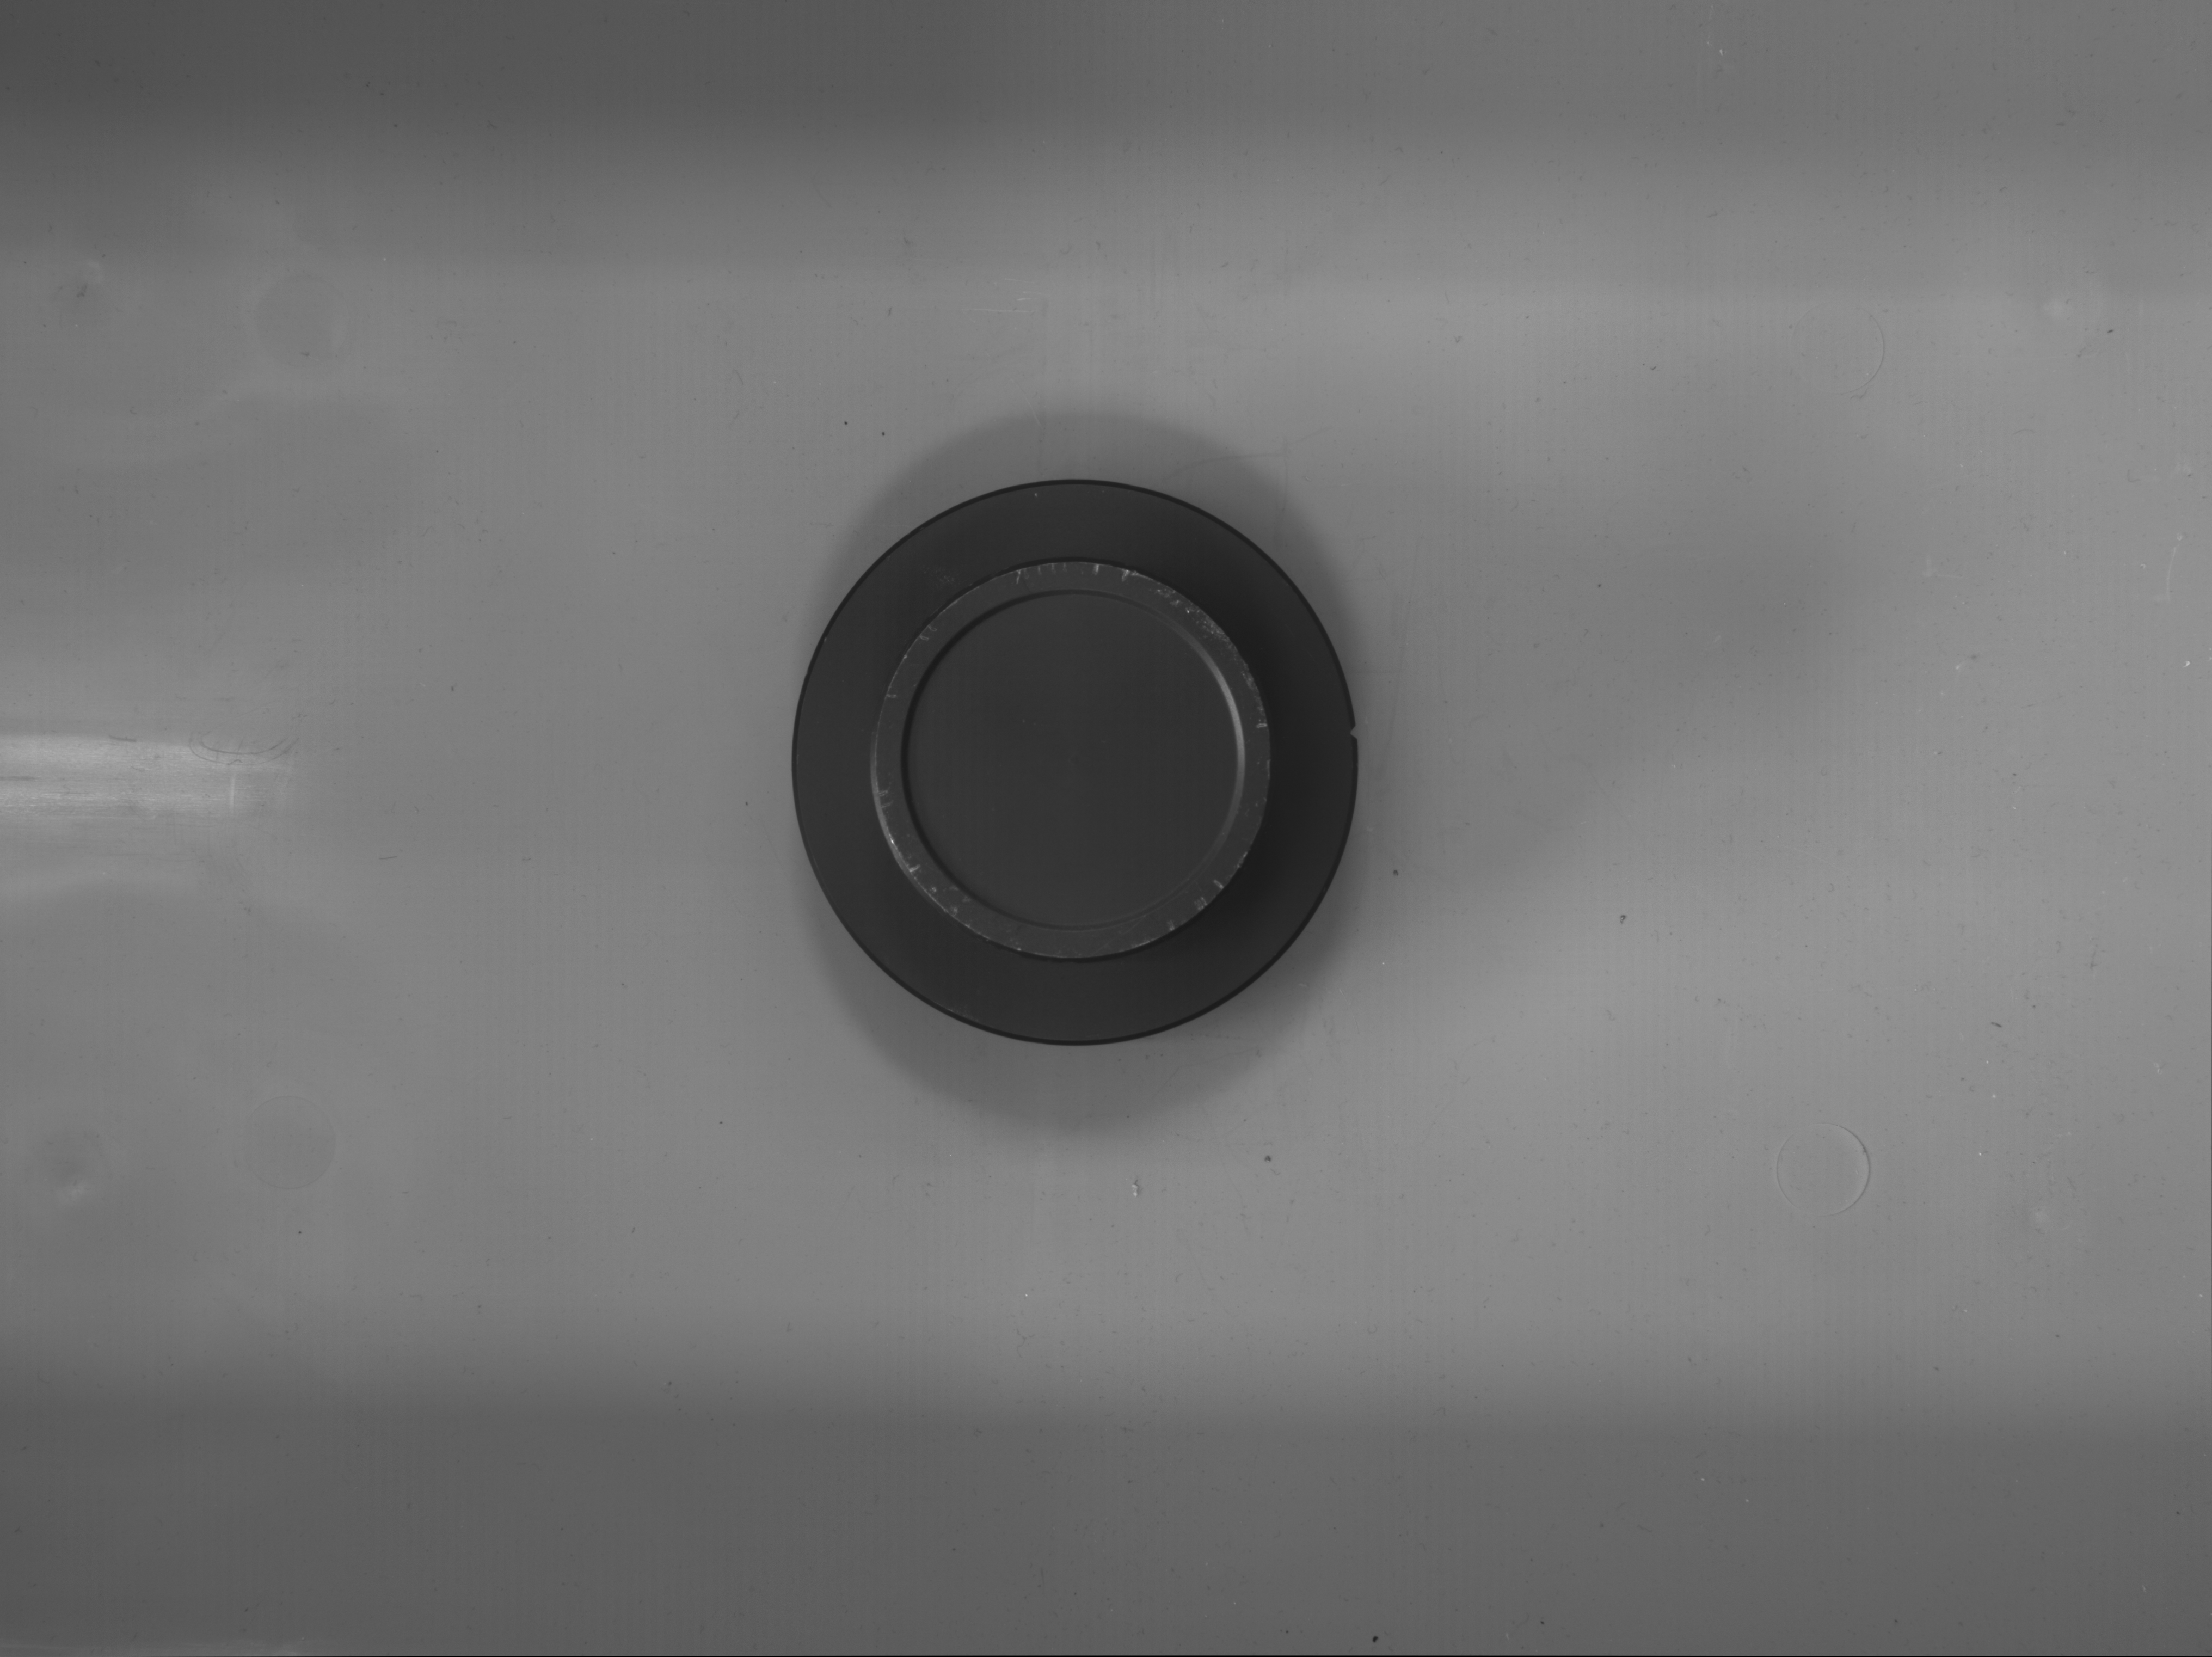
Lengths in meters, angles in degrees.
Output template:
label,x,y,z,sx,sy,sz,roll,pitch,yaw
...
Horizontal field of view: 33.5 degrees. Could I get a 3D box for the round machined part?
label,x,y,z,sx,sy,sz,roll,pitch,yaw
round machined part,-0.005,-0.011,0.635,0.098,0.042,0.098,0,90,0
